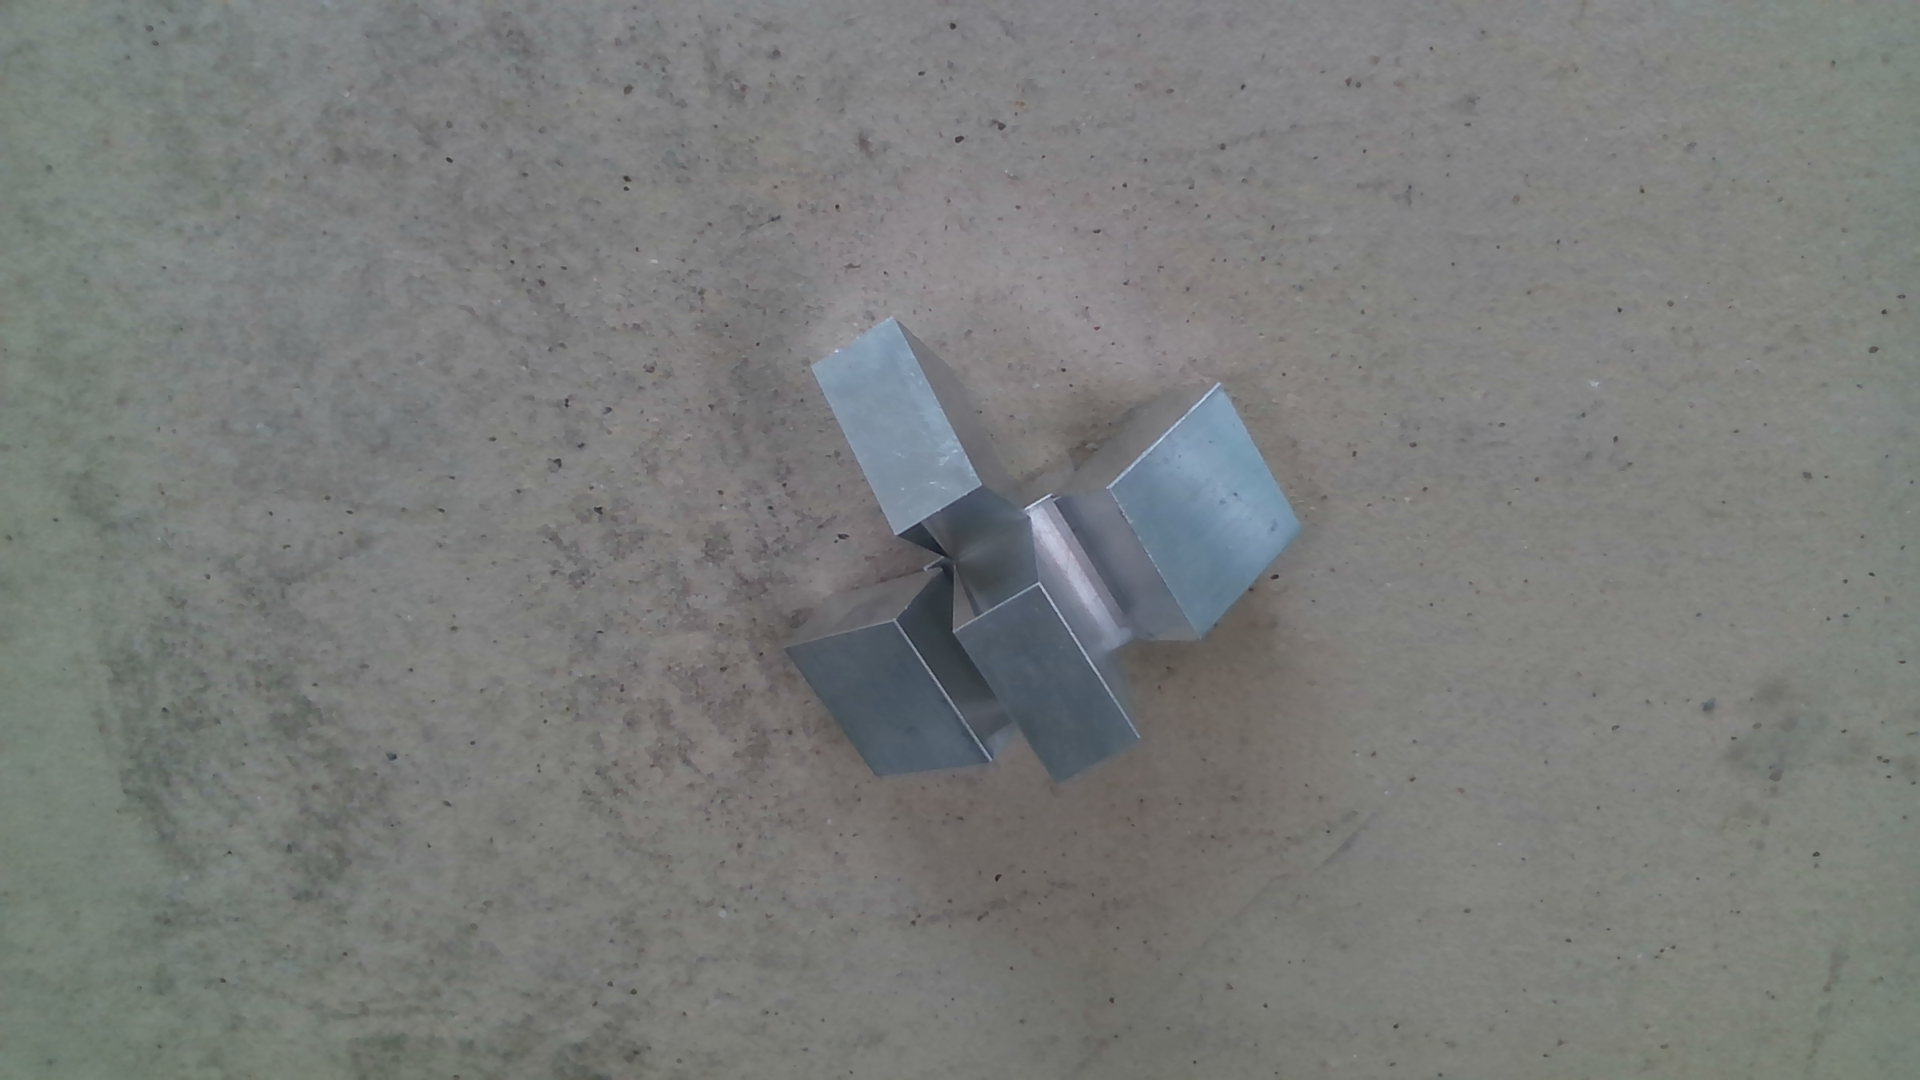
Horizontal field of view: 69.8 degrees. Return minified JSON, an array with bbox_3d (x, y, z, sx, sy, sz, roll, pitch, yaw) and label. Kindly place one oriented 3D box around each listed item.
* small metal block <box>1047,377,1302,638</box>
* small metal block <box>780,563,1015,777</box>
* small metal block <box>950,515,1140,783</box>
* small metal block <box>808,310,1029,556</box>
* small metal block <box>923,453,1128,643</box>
[{"bbox_3d":[0.060,-0.008,0.377,0.050,0.025,0.050,-42,109,-28],"label":"small metal block"},{"bbox_3d":[-0.015,0.039,0.394,0.050,0.025,0.050,-17,114,45],"label":"small metal block"},{"bbox_3d":[0.022,0.027,0.364,0.025,0.050,0.050,-30,107,11],"label":"small metal block"},{"bbox_3d":[-0.010,-0.026,0.361,0.025,0.050,0.050,-30,75,11],"label":"small metal block"},{"bbox_3d":[0.024,0.010,0.398,0.050,0.025,0.050,-30,105,10],"label":"small metal block"}]
